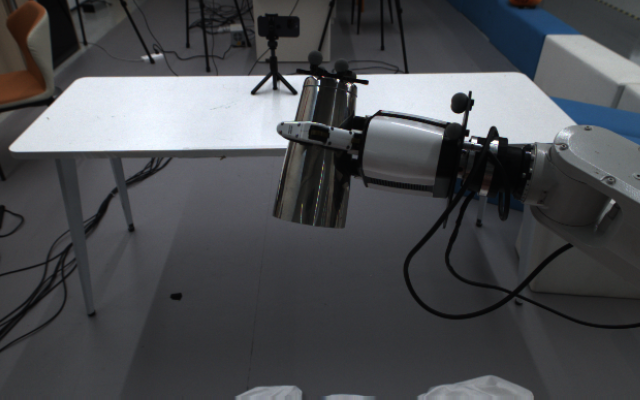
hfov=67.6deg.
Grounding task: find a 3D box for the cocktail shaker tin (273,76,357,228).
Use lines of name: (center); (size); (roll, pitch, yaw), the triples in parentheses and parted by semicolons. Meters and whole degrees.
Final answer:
cocktail shaker tin: (0.001, -0.058, 0.591); (0.093, 0.170, 0.093); (10, 3, 0)
